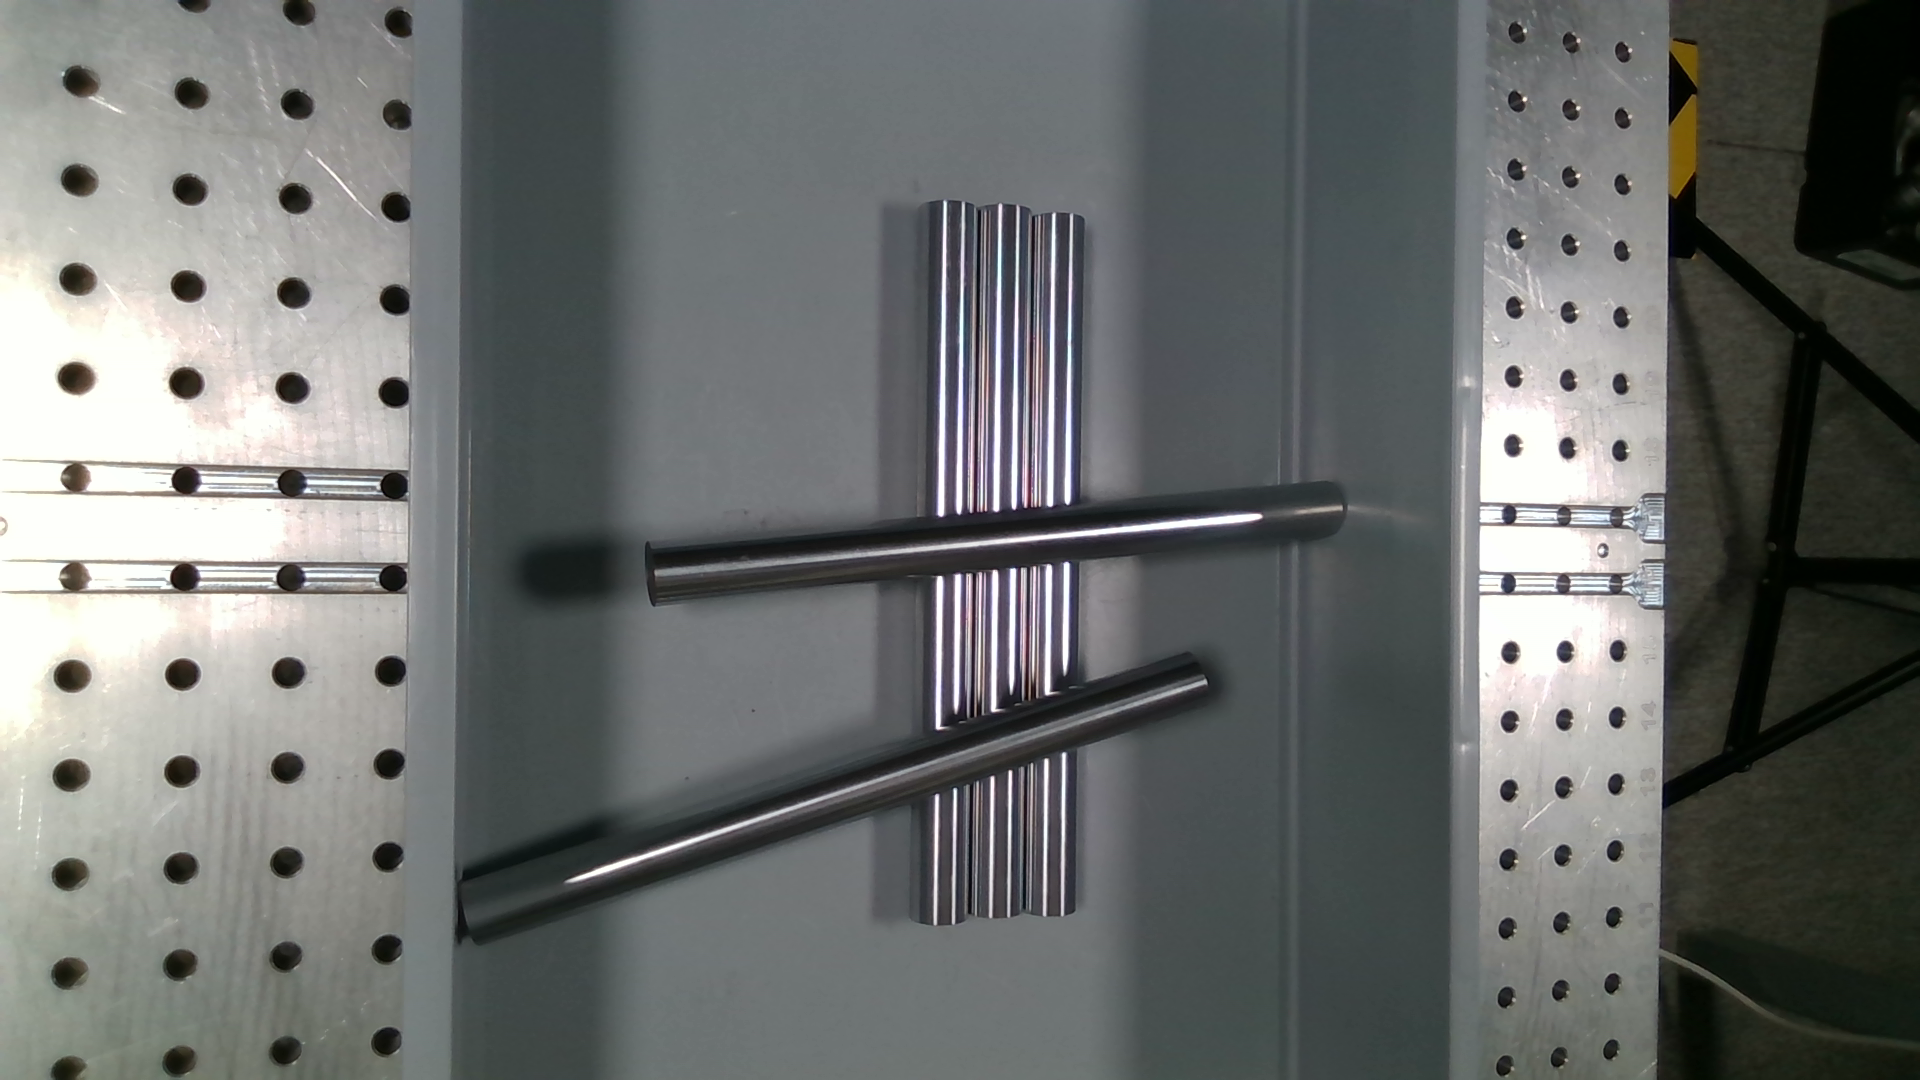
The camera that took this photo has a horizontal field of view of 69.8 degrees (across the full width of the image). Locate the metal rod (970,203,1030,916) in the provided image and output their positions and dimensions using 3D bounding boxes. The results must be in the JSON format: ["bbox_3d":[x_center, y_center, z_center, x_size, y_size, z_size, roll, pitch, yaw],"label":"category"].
[{"bbox_3d":[0.017,0.008,0.591,0.025,0.025,0.300,1,90,-20],"label":"metal rod"}]

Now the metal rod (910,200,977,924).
[{"bbox_3d":[-0.007,0.009,0.582,0.025,0.025,0.300,1,90,-20],"label":"metal rod"}]

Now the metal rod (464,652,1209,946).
[{"bbox_3d":[-0.041,0.100,0.549,0.300,0.025,0.025,-16,96,-13],"label":"metal rod"}]

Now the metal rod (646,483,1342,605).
[{"bbox_3d":[0.024,-0.001,0.567,0.300,0.025,0.025,-5,92,-20],"label":"metal rod"}]

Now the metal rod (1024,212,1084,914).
[{"bbox_3d":[0.040,0.010,0.600,0.025,0.025,0.300,1,90,-20],"label":"metal rod"}]
